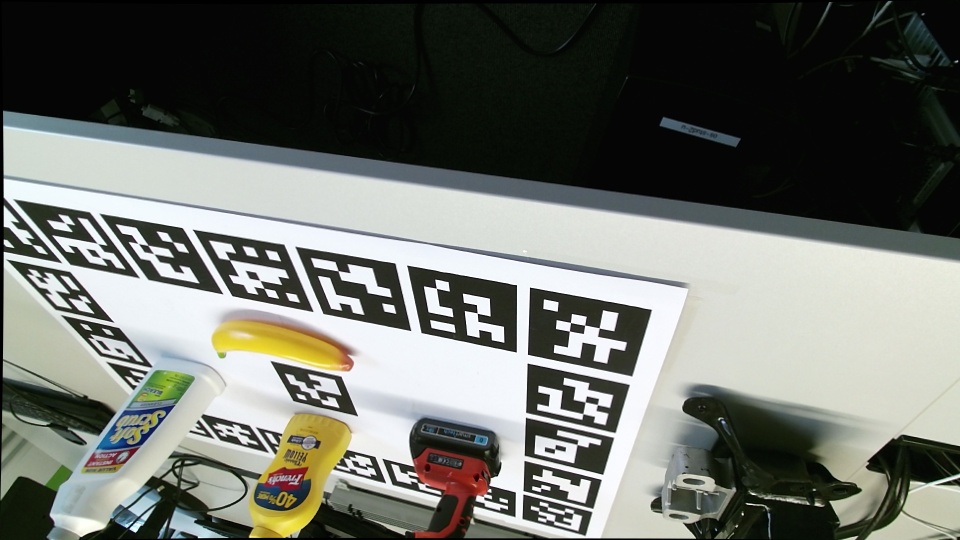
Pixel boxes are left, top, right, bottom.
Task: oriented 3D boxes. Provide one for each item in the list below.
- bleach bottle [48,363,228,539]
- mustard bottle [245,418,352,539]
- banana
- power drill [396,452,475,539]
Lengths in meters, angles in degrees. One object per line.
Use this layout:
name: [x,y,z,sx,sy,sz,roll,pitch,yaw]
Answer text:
bleach bottle: [-0.457,0.246,0.715,0.103,0.250,0.068,15,136,8]
mustard bottle: [-0.261,0.300,0.738,0.096,0.191,0.058,4,133,20]
banana: [-0.250,0.103,0.635,0.198,0.038,0.074,3,132,14]
power drill: [-0.089,0.316,0.642,0.185,0.186,0.057,2,133,14]
